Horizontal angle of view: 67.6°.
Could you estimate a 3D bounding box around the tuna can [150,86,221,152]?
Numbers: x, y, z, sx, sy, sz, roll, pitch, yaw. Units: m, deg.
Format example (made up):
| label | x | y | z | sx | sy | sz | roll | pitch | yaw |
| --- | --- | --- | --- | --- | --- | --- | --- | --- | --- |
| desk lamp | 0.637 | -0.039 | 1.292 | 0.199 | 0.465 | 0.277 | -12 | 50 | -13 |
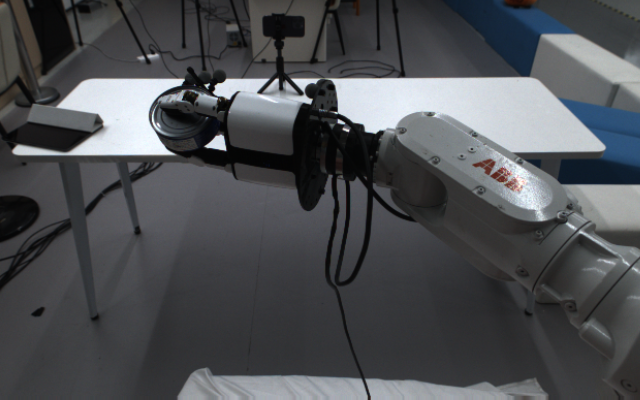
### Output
| label | x | y | z | sx | sy | sz | roll | pitch | yaw |
| --- | --- | --- | --- | --- | --- | --- | --- | --- | --- |
| tuna can | -0.175 | -0.105 | 0.630 | 0.085 | 0.034 | 0.085 | -1 | 59 | 2 |
